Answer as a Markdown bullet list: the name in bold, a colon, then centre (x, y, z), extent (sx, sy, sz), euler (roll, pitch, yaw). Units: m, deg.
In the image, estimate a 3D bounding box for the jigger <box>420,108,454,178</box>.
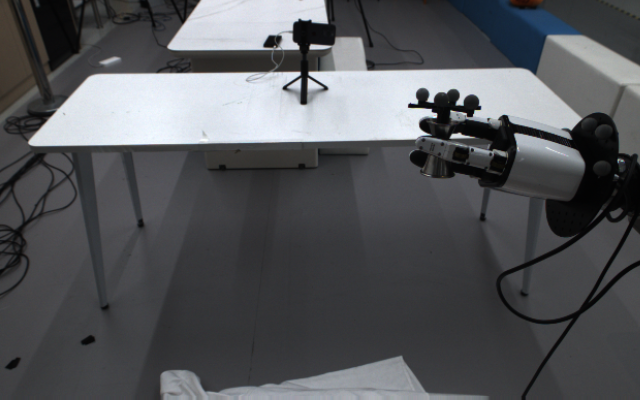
- **jigger**: centre (0.150, -0.068, 0.615), extent (0.043, 0.071, 0.043), euler (1, 20, 0)
